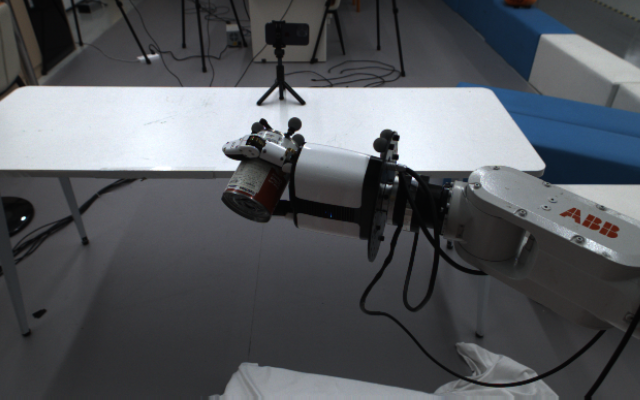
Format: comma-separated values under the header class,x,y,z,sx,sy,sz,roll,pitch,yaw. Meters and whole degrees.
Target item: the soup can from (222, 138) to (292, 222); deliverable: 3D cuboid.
class,x,y,z,sx,sy,sz,roll,pitch,yaw
soup can,-0.072,-0.030,0.618,0.067,0.067,0.101,15,63,18
